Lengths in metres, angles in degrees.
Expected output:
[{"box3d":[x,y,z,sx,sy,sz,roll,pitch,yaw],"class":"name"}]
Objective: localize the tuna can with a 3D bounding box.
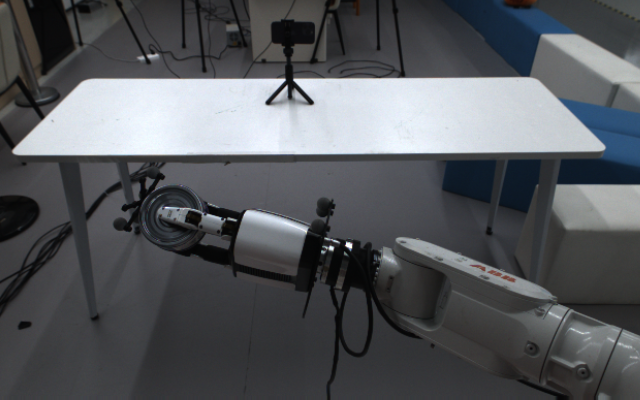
[{"box3d":[-0.189,0.023,0.635,0.085,0.034,0.085,0,75,-1],"class":"tuna can"}]
